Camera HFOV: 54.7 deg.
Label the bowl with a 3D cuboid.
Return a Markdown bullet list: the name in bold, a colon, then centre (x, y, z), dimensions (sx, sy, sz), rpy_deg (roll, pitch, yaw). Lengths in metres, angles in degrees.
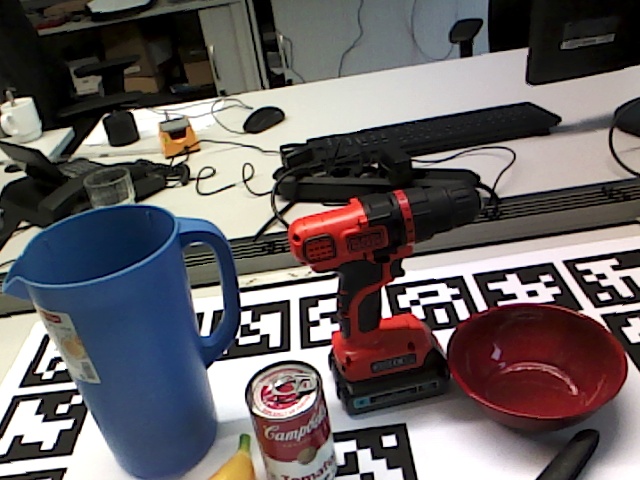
- **bowl**: centre (0.198, 0.116, 0.603), dimensions (0.162, 0.055, 0.162), rpy_deg (-8, 32, 5)

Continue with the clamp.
- **clamp**: centre (0.159, 0.208, 0.466), dimensions (0.202, 0.036, 0.166), rpy_deg (-12, 35, -3)

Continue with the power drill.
- **power drill**: centre (0.071, 0.037, 0.608), dimensions (0.184, 0.186, 0.057), rpy_deg (-13, 31, -6)

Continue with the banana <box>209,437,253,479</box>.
- **banana**: centre (-0.134, 0.236, 0.524), dimensions (0.196, 0.039, 0.075), rpy_deg (-23, 25, -24)

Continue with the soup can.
- **soup can**: centre (-0.024, 0.160, 0.553), dimensions (0.068, 0.102, 0.068), rpy_deg (-9, 22, 3)

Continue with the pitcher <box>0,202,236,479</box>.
- **pitcher**: centre (-0.160, 0.092, 0.569), dimensions (0.188, 0.242, 0.134), rpy_deg (-24, 30, -22)
